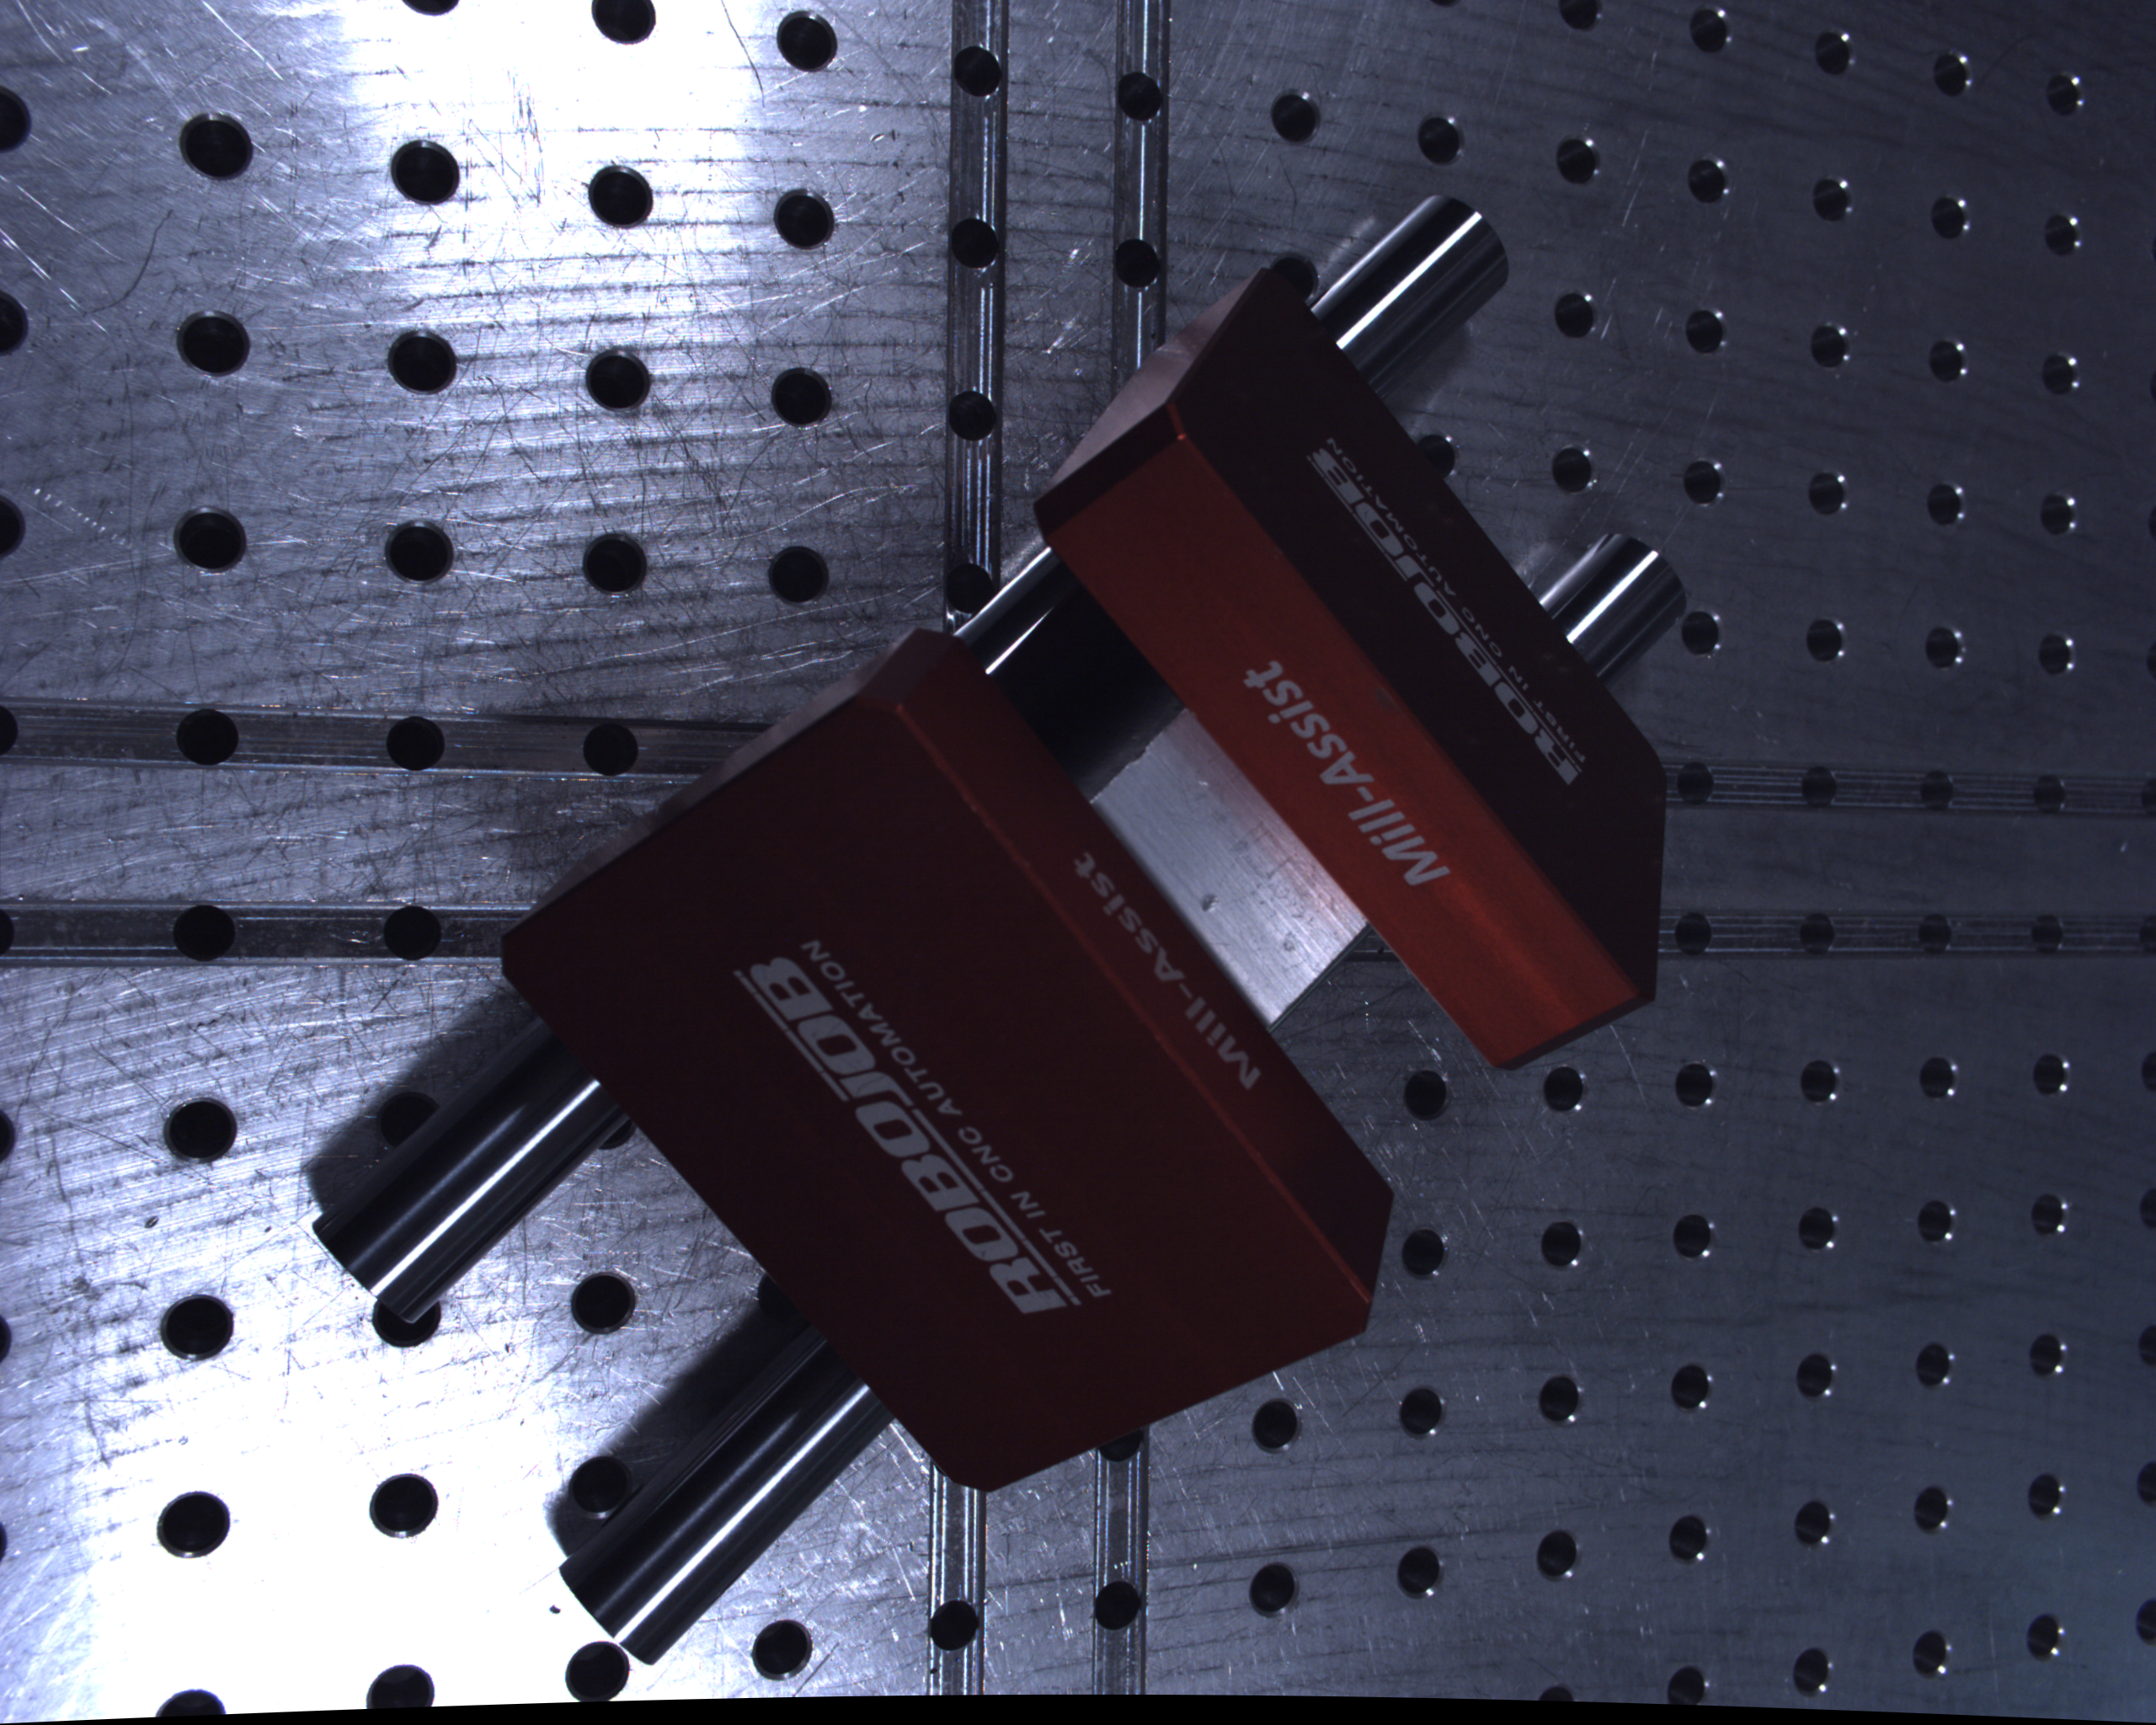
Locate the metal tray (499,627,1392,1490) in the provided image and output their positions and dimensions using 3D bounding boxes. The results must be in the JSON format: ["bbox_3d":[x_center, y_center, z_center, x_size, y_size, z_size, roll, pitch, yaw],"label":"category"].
[{"bbox_3d":[-0.021,0.037,0.348,0.090,0.030,0.130,-31,105,27],"label":"metal tray"}]

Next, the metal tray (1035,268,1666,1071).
[{"bbox_3d":[0.055,-0.037,0.376,0.130,0.030,0.090,49,31,-14],"label":"metal tray"}]

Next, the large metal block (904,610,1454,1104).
[{"bbox_3d":[0.014,-0.002,0.389,0.080,0.080,0.050,-44,104,-15],"label":"large metal block"}]

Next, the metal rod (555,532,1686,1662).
[{"bbox_3d":[0.018,0.037,0.421,0.301,0.025,0.025,-44,104,-15],"label":"metal rod"}]

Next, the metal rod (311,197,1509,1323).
[{"bbox_3d":[-0.022,-0.029,0.406,0.301,0.025,0.025,-44,104,-15],"label":"metal rod"}]
